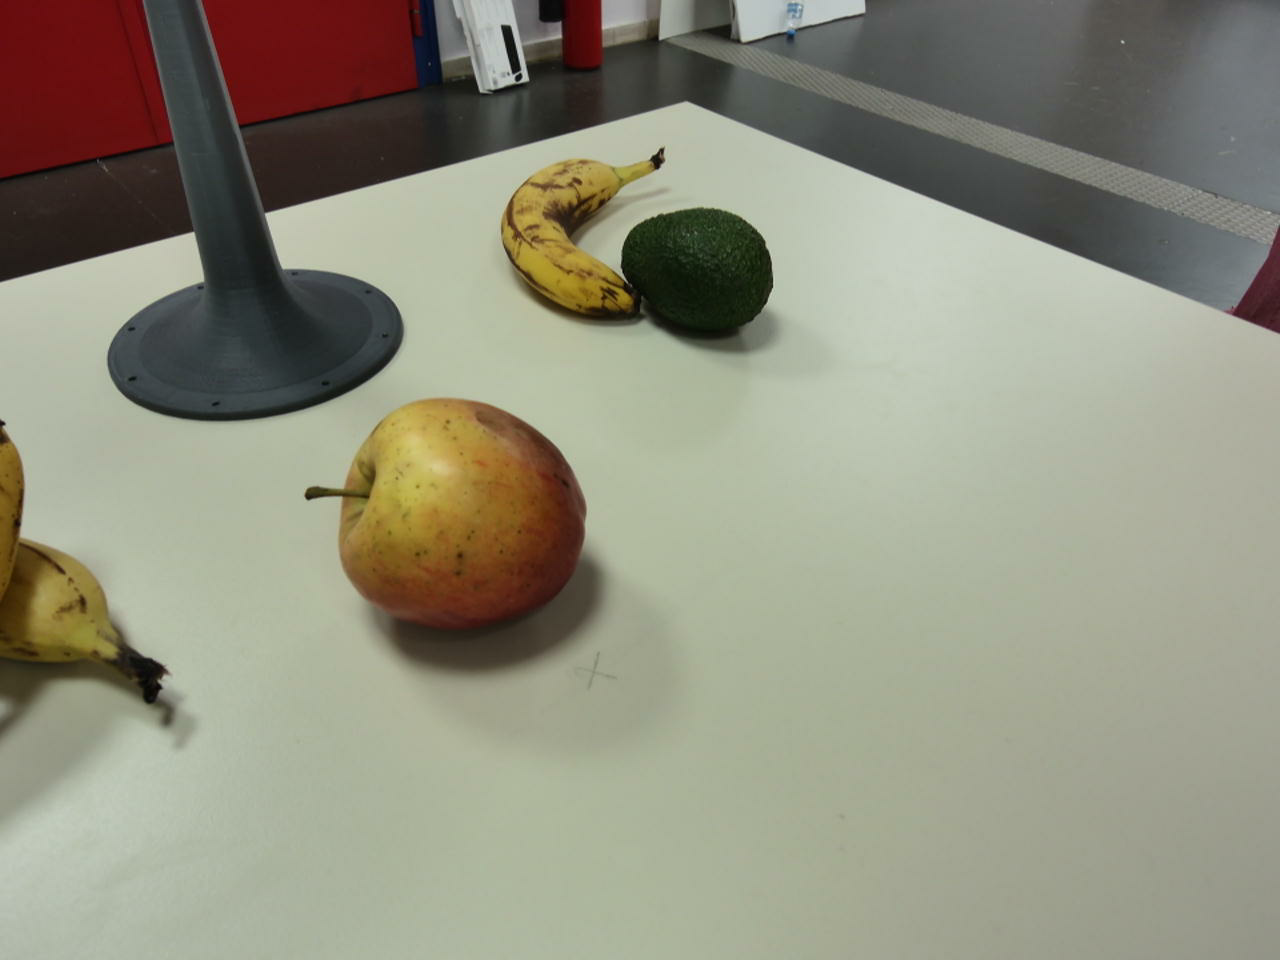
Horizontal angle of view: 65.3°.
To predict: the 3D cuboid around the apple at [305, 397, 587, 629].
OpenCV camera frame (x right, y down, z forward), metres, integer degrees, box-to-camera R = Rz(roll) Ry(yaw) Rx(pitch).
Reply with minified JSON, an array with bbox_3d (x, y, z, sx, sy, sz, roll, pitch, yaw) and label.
[{"bbox_3d":[-0.068,0.013,0.370,0.093,0.084,0.086,10,37,11],"label":"apple"}]
